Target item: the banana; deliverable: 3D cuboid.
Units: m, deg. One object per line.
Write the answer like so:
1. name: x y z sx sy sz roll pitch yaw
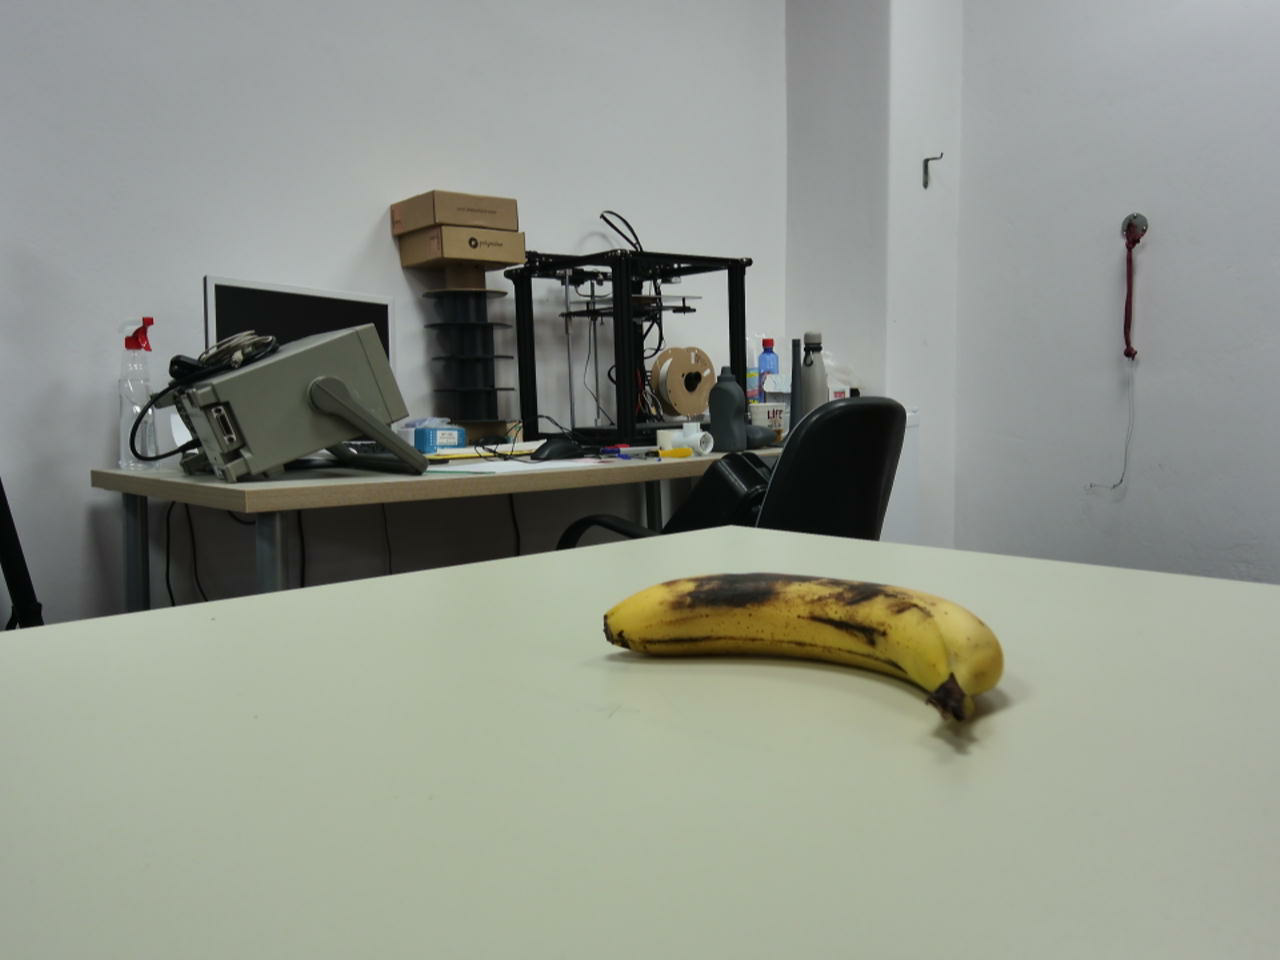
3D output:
1. banana: 0.078 0.067 0.442 0.094 0.039 0.187 -2 3 -42
